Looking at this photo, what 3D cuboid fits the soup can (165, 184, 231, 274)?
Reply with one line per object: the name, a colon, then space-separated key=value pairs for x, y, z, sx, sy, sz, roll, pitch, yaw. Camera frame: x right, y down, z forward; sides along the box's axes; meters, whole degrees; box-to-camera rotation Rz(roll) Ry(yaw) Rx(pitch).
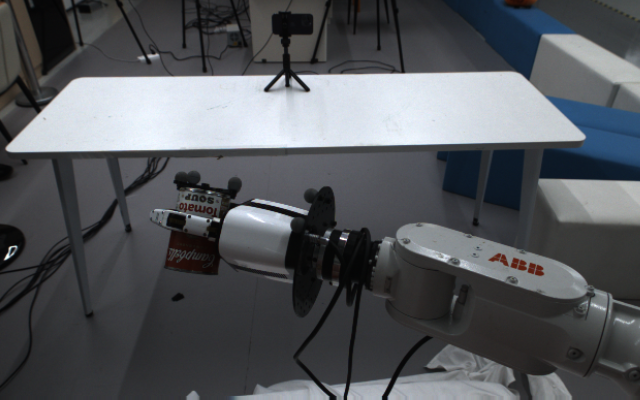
soup can: x=-0.154 y=0.041 z=0.612 sx=0.067 sy=0.101 sz=0.067 roll=9 pitch=-6 yaw=1
